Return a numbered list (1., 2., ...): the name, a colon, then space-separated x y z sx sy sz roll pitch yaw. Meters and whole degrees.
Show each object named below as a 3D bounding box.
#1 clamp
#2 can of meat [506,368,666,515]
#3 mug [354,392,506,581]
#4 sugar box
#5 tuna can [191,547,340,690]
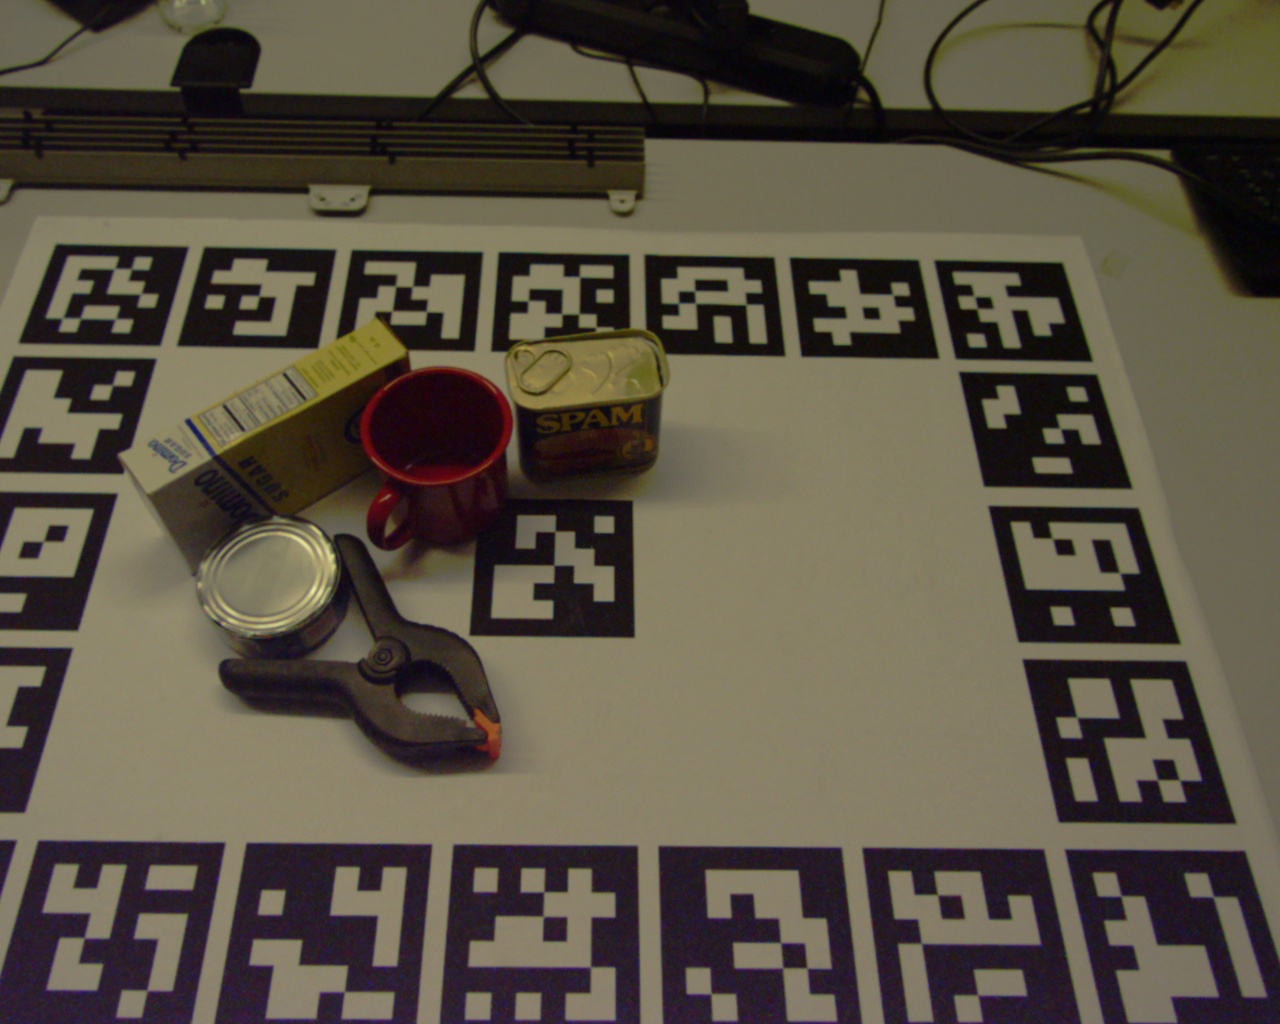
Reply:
1. clamp: -0.153 0.117 0.687 0.166 0.036 0.121 33 58 12
2. can of meat: -0.038 -0.045 0.765 0.101 0.083 0.058 -6 57 -8
3. mug: -0.136 -0.007 0.729 0.094 0.081 0.117 22 61 10
4. sugar box: -0.229 -0.019 0.736 0.175 0.092 0.046 -33 64 -22
5. tuna can: -0.232 0.067 0.709 0.085 0.033 0.086 1 60 -2
